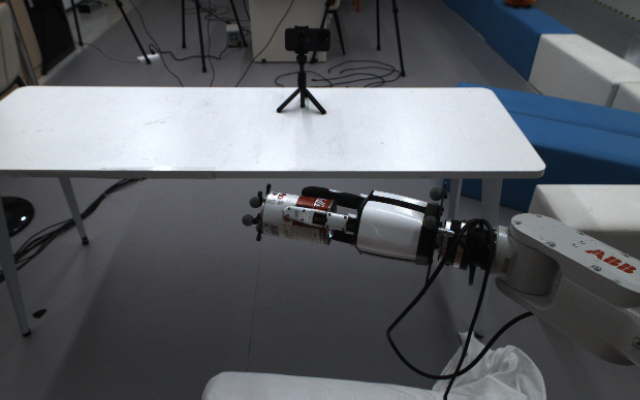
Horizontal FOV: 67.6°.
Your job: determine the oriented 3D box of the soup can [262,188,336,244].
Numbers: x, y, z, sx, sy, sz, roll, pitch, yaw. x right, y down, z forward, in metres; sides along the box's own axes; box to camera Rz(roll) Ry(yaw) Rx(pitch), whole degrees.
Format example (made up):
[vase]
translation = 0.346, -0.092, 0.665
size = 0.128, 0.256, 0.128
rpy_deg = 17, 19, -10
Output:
[soup can]
translation = -0.029, 0.026, 0.722
size = 0.101, 0.067, 0.067
rpy_deg = 7, 35, 11
